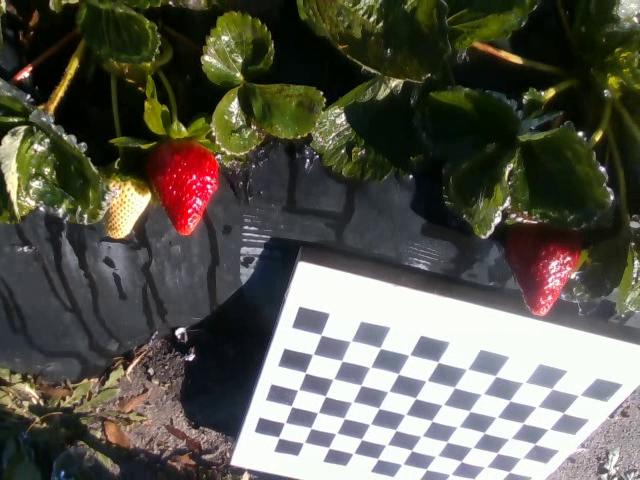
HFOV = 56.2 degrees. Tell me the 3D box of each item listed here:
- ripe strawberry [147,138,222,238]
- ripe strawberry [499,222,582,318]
[{"bbox_3d":[-0.082,-0.028,0.365,0.042,0.061,0.046,3,-3,2],"label":"ripe strawberry"},{"bbox_3d":[0.141,0.022,0.379,0.048,0.061,0.044,9,6,-3],"label":"ripe strawberry"}]
